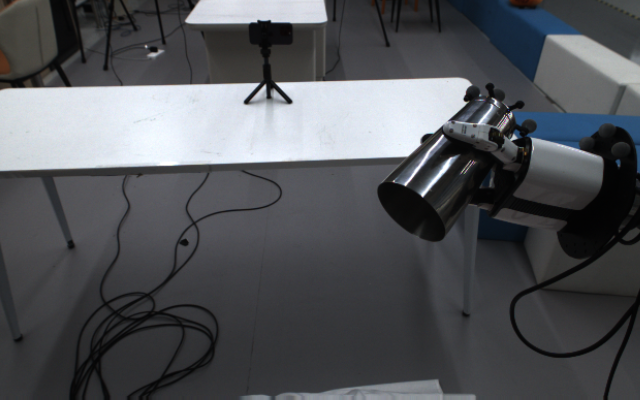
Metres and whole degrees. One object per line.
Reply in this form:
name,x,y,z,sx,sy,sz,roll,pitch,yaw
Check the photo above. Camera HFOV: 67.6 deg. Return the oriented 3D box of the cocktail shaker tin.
cocktail shaker tin,0.155,-0.048,0.565,0.093,0.093,0.170,32,66,35
